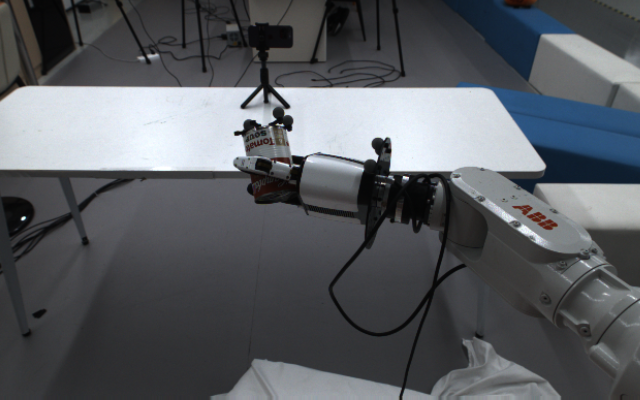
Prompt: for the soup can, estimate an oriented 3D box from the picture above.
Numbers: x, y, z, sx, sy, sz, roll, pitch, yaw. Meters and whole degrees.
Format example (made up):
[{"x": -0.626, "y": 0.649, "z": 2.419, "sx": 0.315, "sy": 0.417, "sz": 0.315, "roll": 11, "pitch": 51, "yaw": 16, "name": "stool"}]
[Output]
[{"x": -0.072, "y": -0.050, "z": 0.717, "sx": 0.067, "sy": 0.067, "sz": 0.101, "roll": -10, "pitch": 80, "yaw": -17, "name": "soup can"}]
